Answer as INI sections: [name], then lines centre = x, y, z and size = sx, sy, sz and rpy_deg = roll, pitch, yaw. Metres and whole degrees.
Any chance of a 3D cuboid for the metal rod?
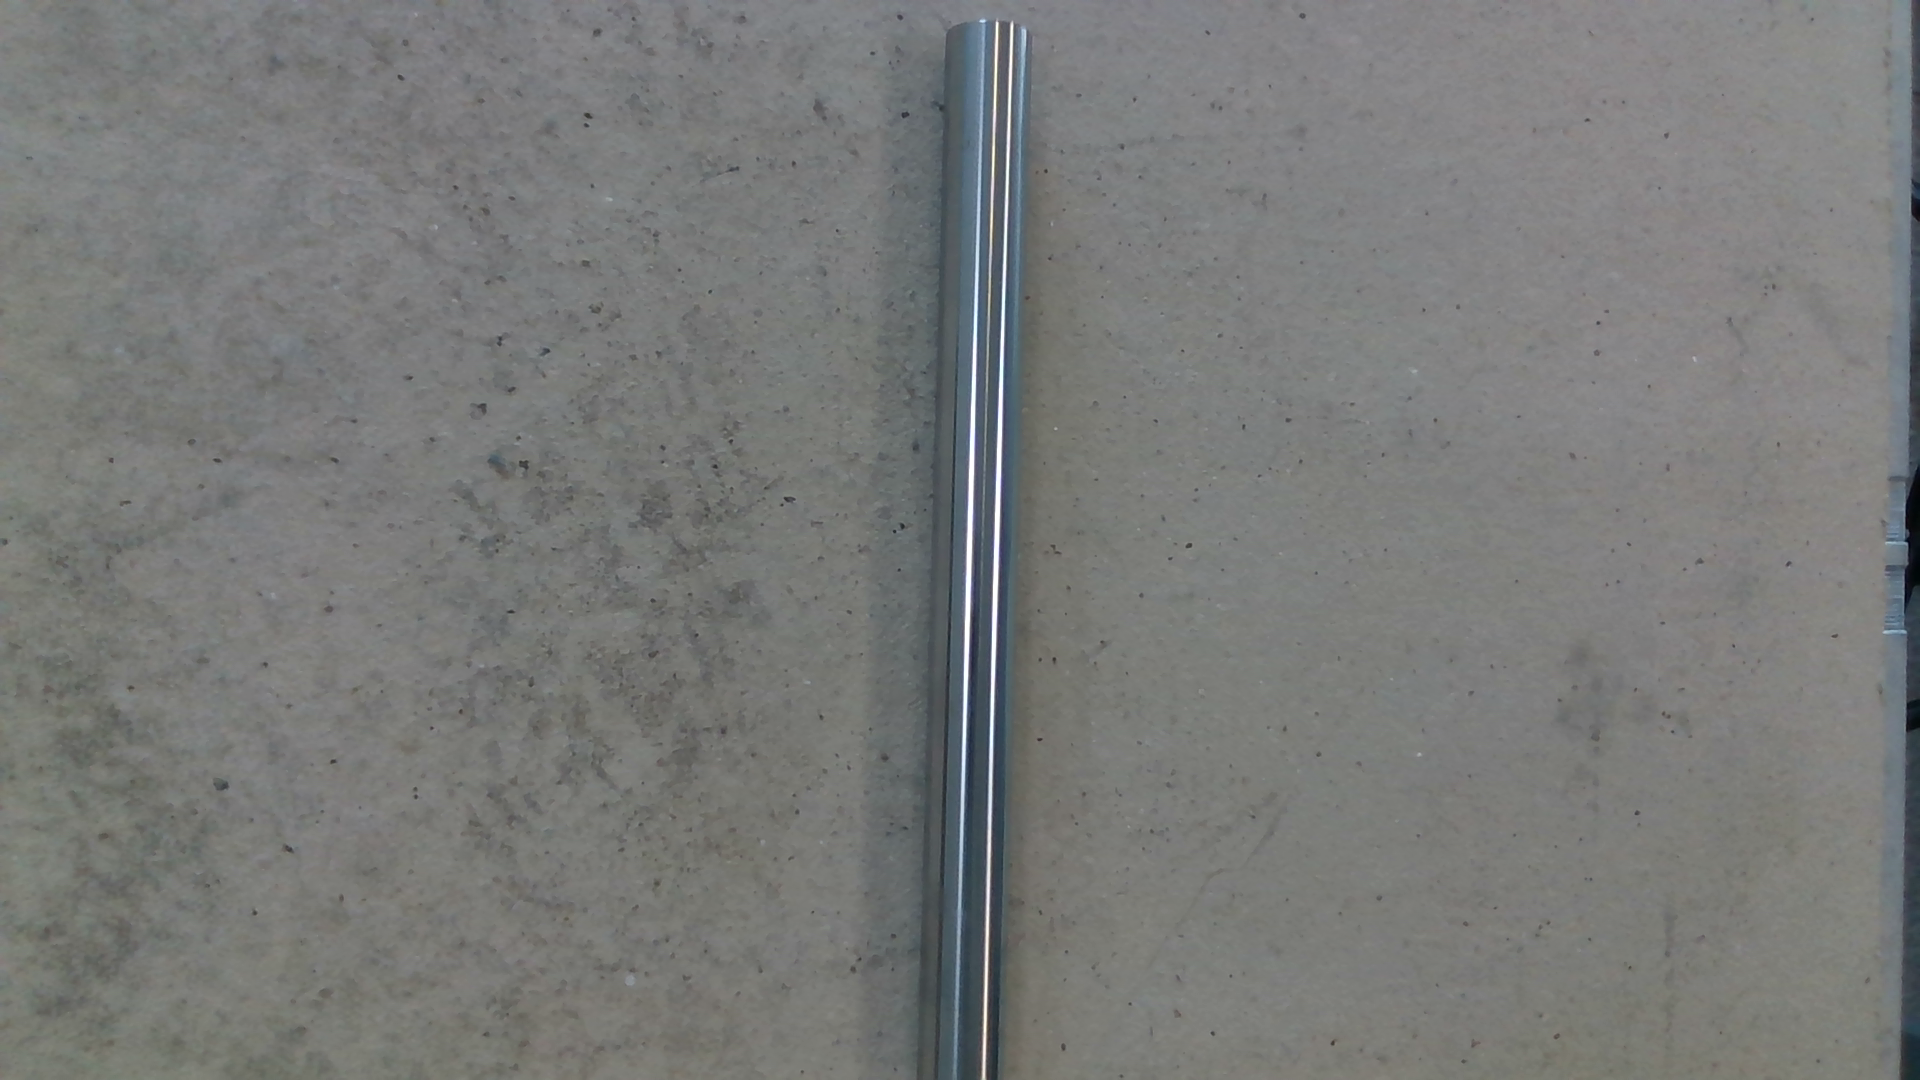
[metal rod]
centre = 0.004, 0.004, 0.395
size = 0.025, 0.025, 0.300
rpy_deg = 2, 90, -20
